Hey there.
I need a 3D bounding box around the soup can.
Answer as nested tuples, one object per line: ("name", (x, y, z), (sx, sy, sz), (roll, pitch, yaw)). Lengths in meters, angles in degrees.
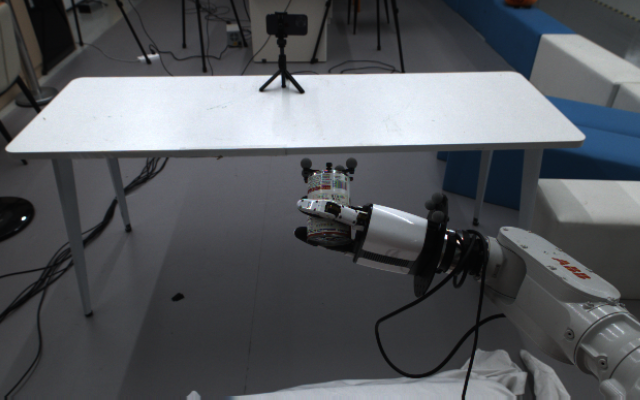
("soup can", (0.014, 0.013, 0.729), (0.067, 0.067, 0.101), (1, 73, -2))
